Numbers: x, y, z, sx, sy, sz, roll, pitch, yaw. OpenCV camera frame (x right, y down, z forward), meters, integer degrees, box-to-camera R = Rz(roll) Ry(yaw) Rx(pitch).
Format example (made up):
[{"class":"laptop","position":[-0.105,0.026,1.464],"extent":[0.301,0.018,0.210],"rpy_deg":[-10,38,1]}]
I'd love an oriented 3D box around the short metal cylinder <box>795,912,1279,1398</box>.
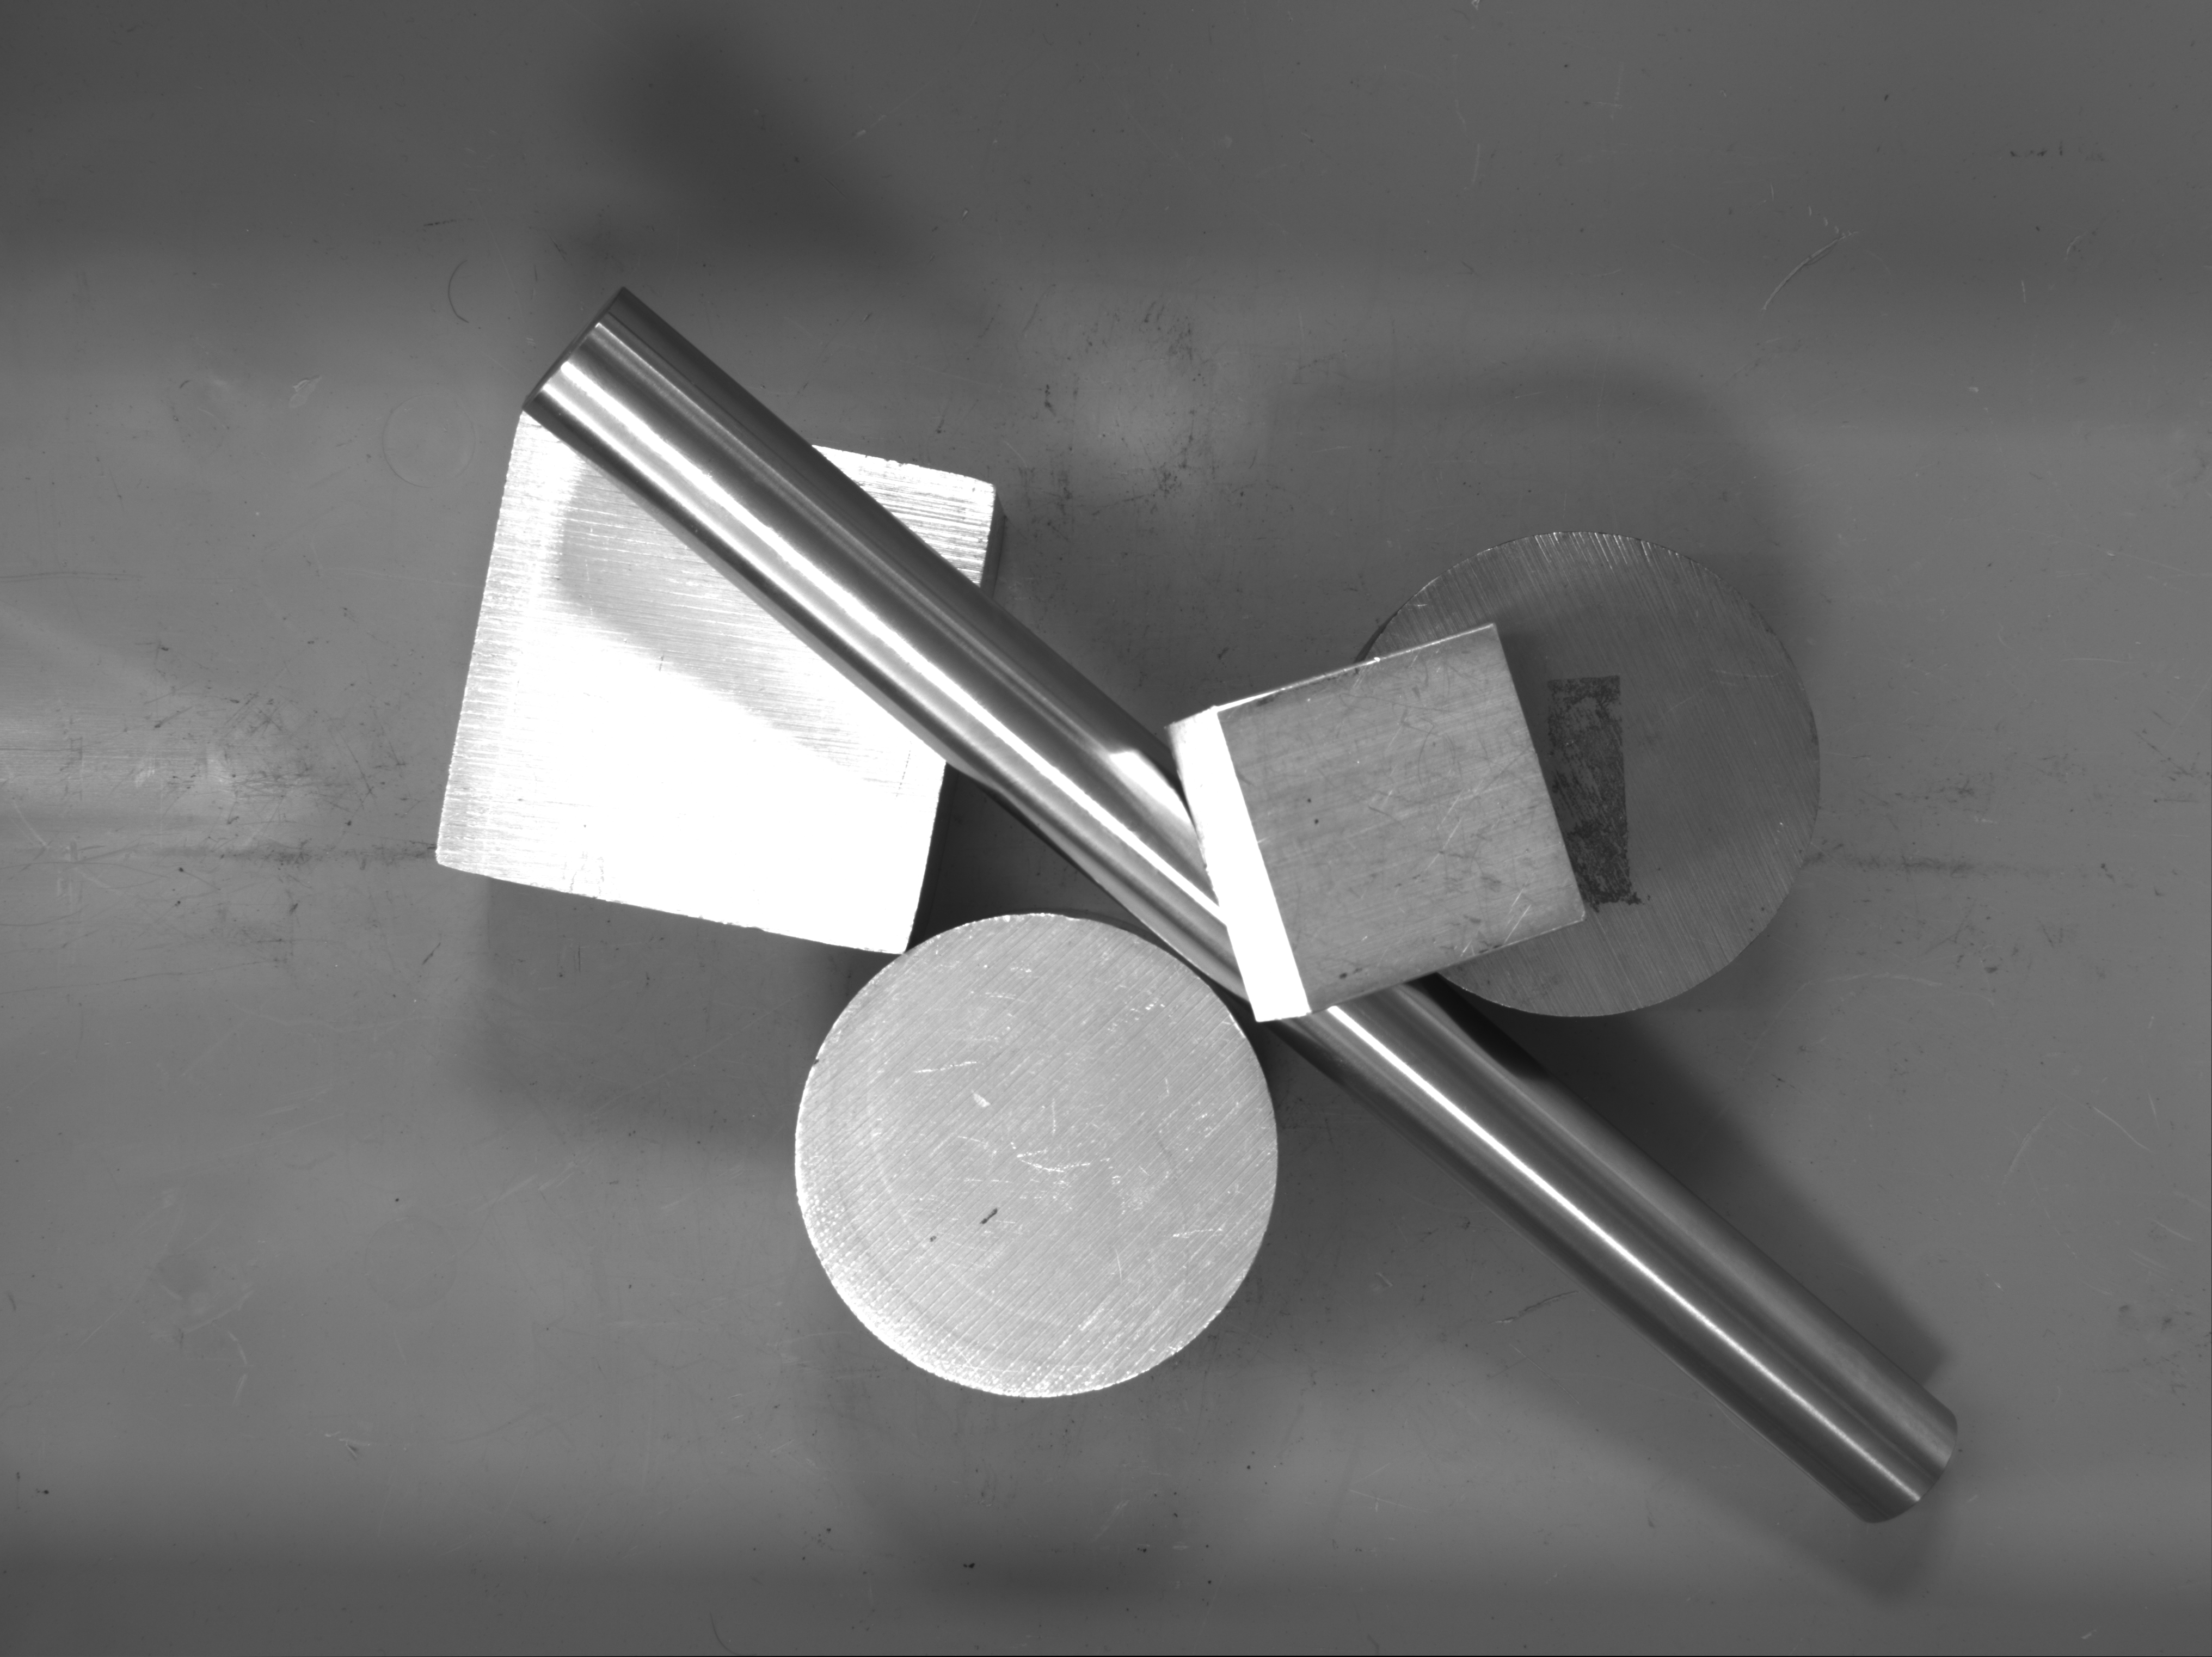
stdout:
[{"class":"short metal cylinder","position":[-0.011,0.054,0.632],"extent":[0.080,0.050,0.080],"rpy_deg":[0,90,0]}]

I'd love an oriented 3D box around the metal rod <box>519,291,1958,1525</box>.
[{"class":"metal rod","position":[0.028,0.019,0.609],"extent":[0.300,0.025,0.025],"rpy_deg":[40,90,-14]}]

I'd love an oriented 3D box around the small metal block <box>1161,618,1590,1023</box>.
[{"class":"small metal block","position":[0.043,-0.001,0.588],"extent":[0.050,0.025,0.050],"rpy_deg":[-18,90,-18]}]

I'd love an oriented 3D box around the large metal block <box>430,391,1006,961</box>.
[{"class":"large metal block","position":[-0.064,-0.025,0.630],"extent":[0.080,0.050,0.080],"rpy_deg":[11,90,0]}]

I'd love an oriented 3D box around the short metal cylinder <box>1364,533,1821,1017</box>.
[{"class":"short metal cylinder","position":[0.078,-0.009,0.632],"extent":[0.080,0.050,0.080],"rpy_deg":[0,90,0]}]
